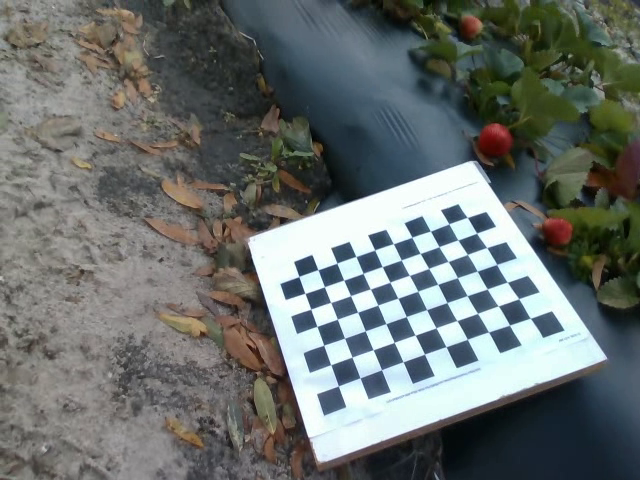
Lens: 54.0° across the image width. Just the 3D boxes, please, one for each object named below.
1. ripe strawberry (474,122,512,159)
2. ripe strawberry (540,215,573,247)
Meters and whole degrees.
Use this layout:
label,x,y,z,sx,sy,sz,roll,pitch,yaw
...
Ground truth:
label,x,y,z,sx,sy,sz,roll,pitch,yaw
ripe strawberry,0.234,-0.127,0.808,0.046,0.043,0.065,-15,3,1
ripe strawberry,0.275,-0.008,0.719,0.042,0.041,0.037,23,-45,-37
